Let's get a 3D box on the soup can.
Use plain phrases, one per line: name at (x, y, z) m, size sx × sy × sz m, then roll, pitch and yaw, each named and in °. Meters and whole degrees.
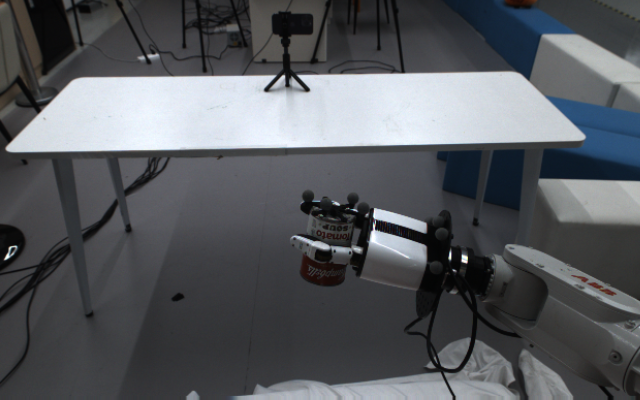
soup can at (0.012, 0.064, 0.699) m, size 0.067 × 0.101 × 0.067 m, roll 9°, pitch 19°, yaw -3°
